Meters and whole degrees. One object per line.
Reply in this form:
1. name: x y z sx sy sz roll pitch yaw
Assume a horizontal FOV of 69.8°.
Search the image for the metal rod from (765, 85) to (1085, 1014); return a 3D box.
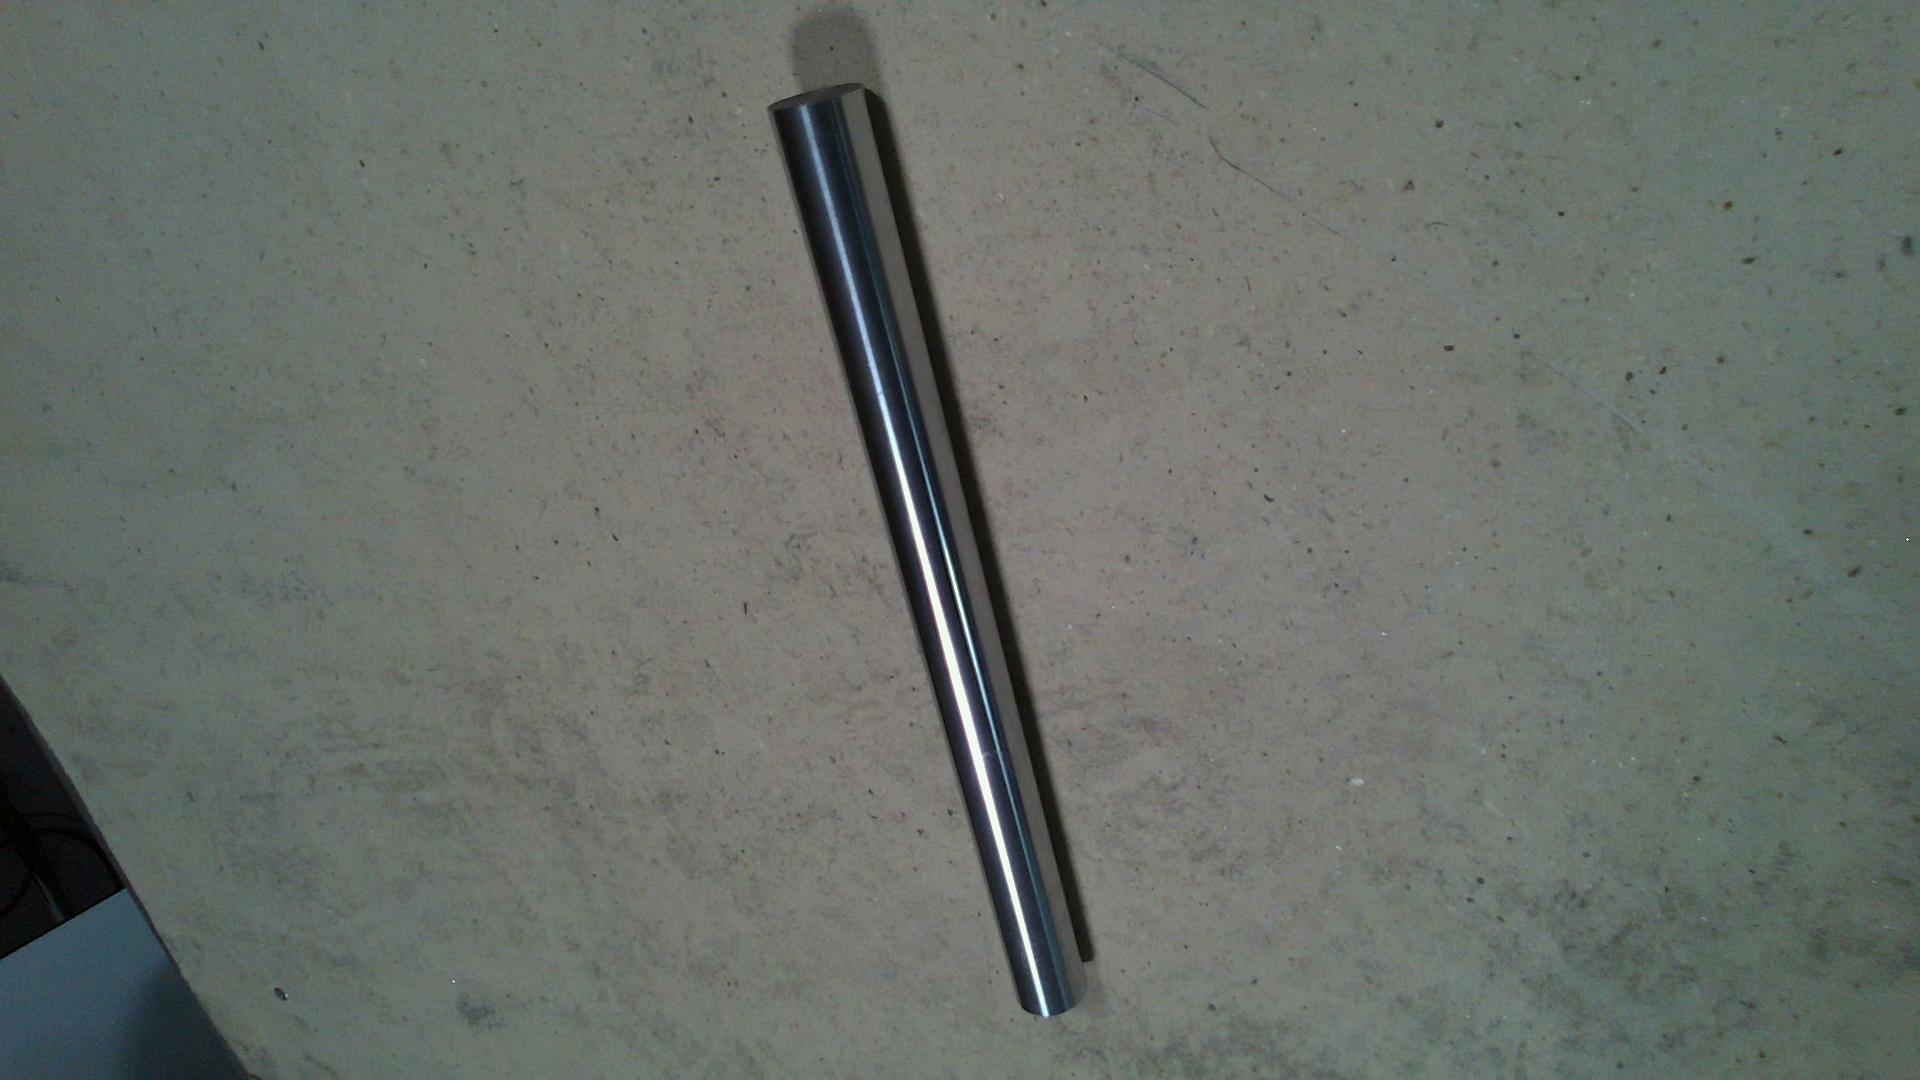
1. metal rod: -0.003 0.021 0.408 0.025 0.025 0.300 0 119 28
